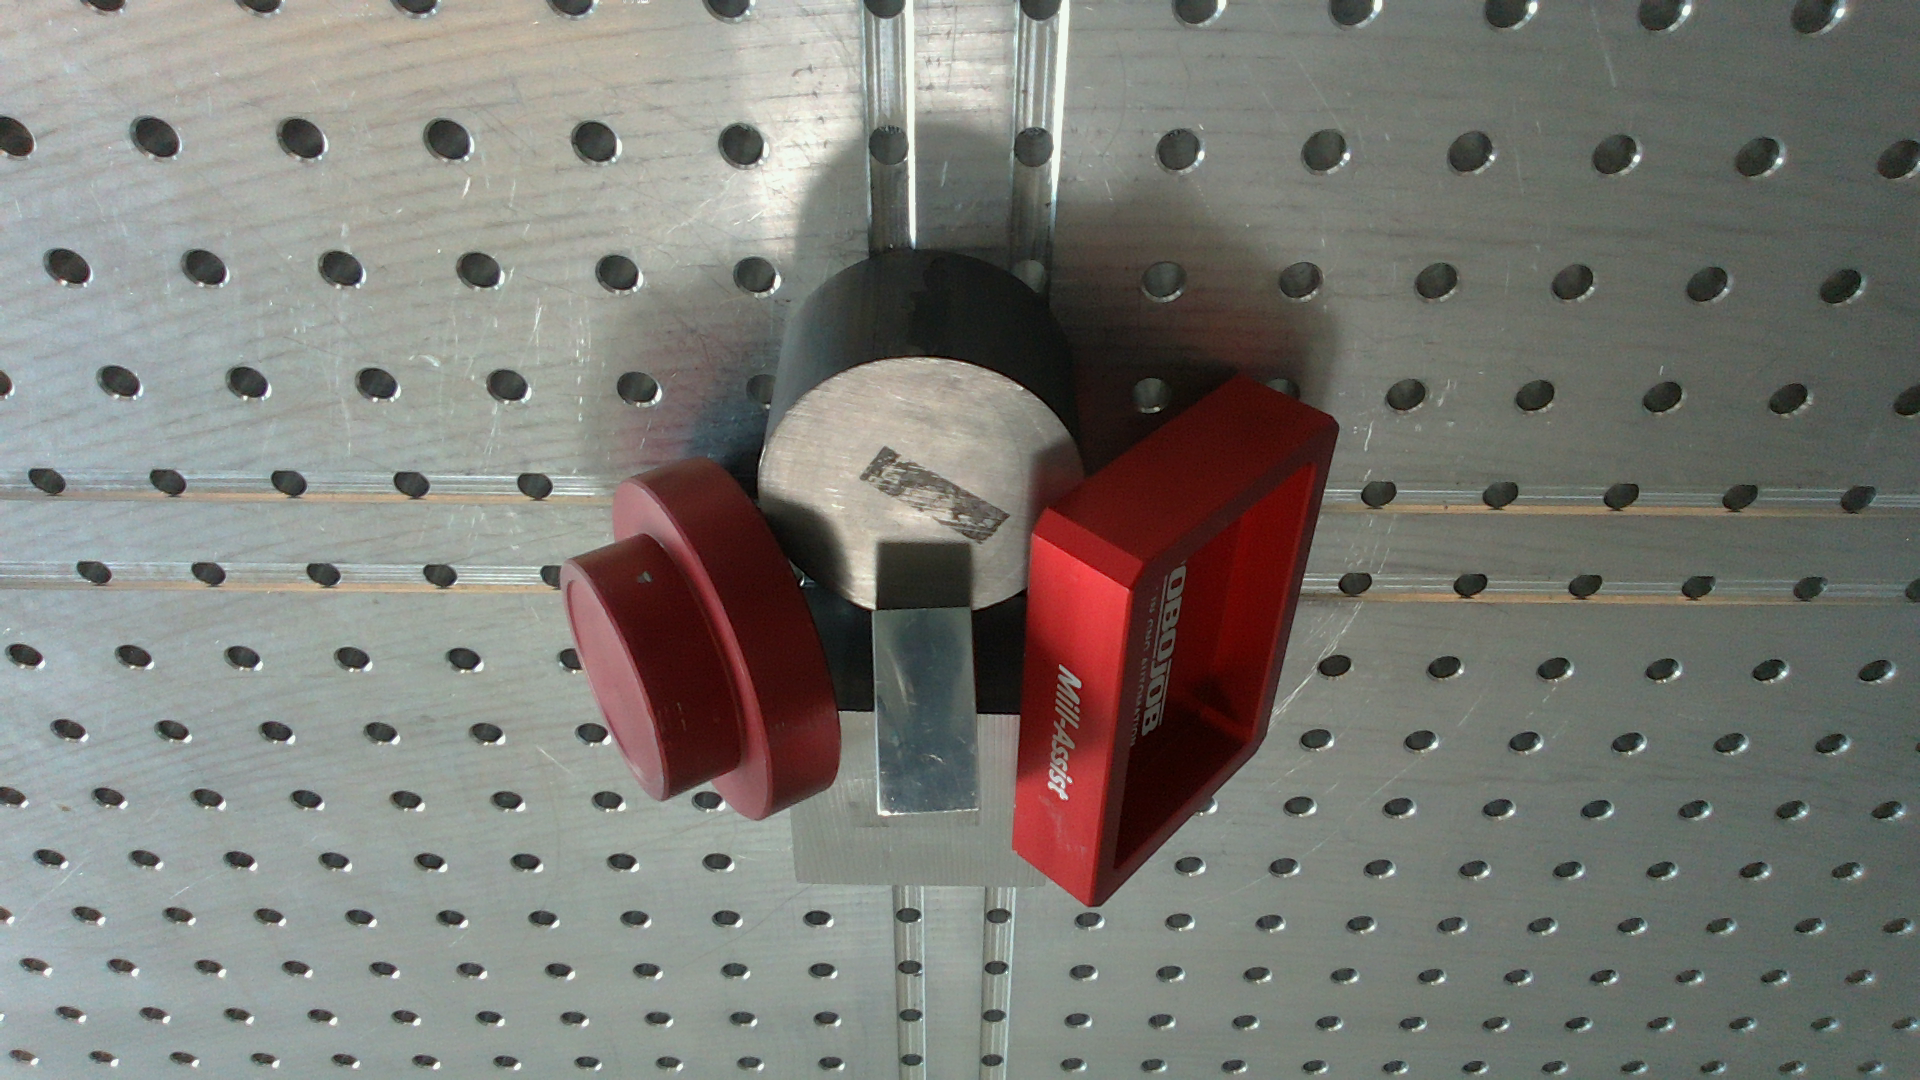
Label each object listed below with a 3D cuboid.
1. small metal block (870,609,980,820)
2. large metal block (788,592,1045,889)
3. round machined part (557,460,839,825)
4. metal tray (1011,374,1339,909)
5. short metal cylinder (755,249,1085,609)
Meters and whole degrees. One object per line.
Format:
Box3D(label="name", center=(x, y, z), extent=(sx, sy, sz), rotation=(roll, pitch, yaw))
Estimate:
Box3D(label="small metal block", center=(-0.009, 0.046, 0.360), extent=(0.025, 0.050, 0.050), rotation=(-2, 172, -2))
Box3D(label="large metal block", center=(-0.012, 0.063, 0.430), extent=(0.080, 0.050, 0.080), rotation=(1, 130, -1))
Box3D(label="round machined part", center=(-0.074, 0.031, 0.366), extent=(0.042, 0.098, 0.098), rotation=(-22, 136, -25))
Box3D(label="metal tray", center=(0.057, 0.030, 0.379), extent=(0.030, 0.090, 0.130), rotation=(31, 139, 31))
Box3D(label="short metal cylinder", center=(-0.010, -0.027, 0.353), extent=(0.080, 0.050, 0.080), rotation=(0, 130, 0))
